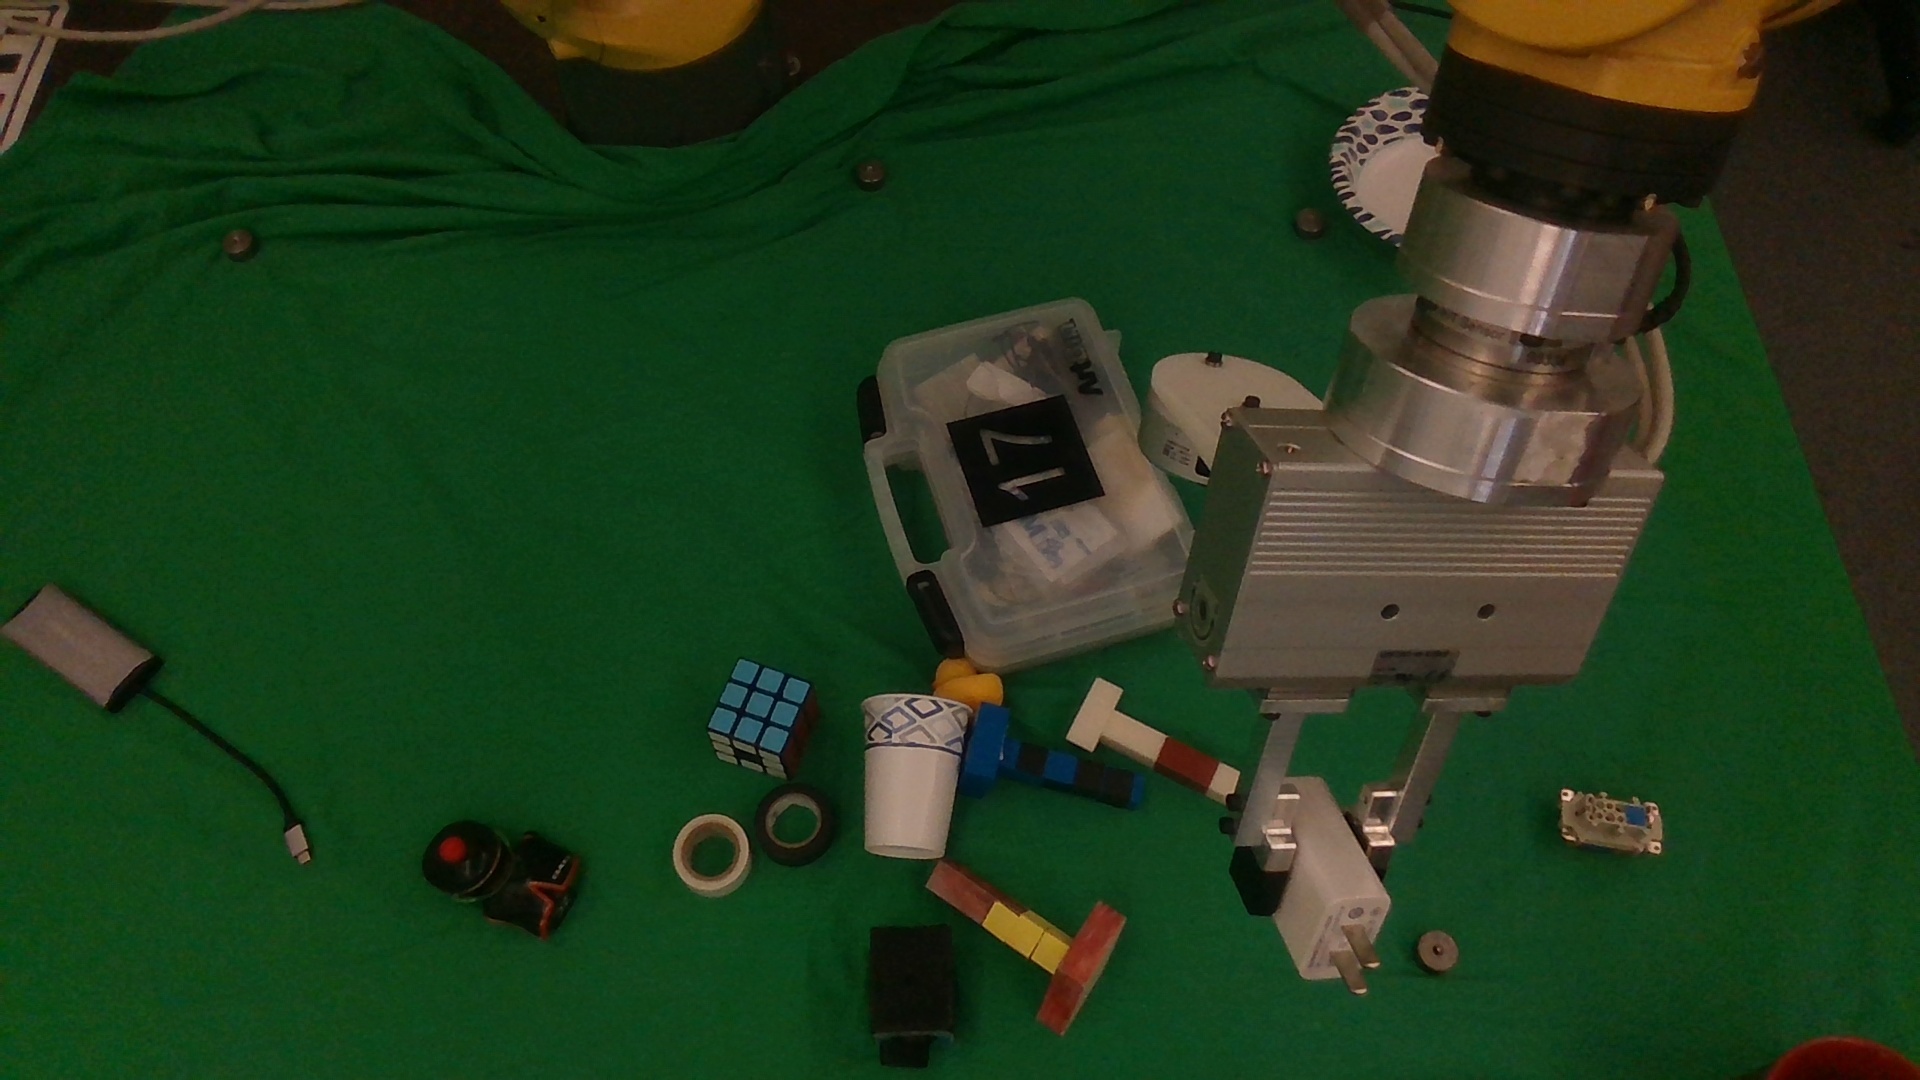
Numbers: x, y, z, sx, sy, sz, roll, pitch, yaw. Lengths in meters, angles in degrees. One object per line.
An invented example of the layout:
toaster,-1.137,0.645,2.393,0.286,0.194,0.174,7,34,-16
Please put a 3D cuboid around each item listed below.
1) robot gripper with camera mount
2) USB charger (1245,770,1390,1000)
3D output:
robot gripper with camera mount,0.117,0.014,0.502,0.119,0.158,0.193,2,26,-8
USB charger,0.119,0.115,0.456,0.029,0.044,0.075,0,35,-10
